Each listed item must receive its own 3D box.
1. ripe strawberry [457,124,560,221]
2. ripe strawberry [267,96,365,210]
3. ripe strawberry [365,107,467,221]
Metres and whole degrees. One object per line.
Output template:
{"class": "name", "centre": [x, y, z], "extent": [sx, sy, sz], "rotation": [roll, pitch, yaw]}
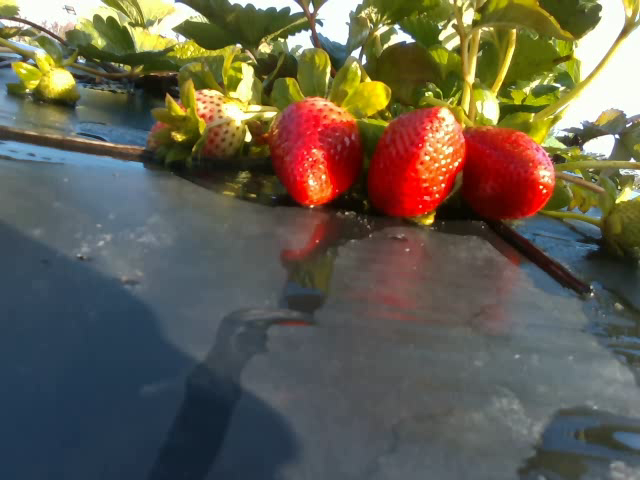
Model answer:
{"class": "ripe strawberry", "centre": [0.055, -0.018, 0.170], "extent": [0.035, 0.034, 0.041], "rotation": [7, 1, -5]}
{"class": "ripe strawberry", "centre": [-0.002, -0.026, 0.170], "extent": [0.031, 0.023, 0.046], "rotation": [10, 37, -2]}
{"class": "ripe strawberry", "centre": [0.027, -0.026, 0.166], "extent": [0.030, 0.037, 0.039], "rotation": [18, -12, 4]}
